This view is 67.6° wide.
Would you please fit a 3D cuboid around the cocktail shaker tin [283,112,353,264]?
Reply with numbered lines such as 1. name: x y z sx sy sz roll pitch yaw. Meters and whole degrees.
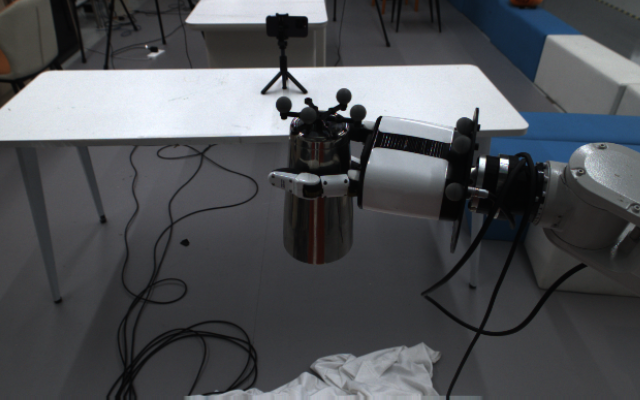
1. cocktail shaker tin: 0.003 -0.019 0.581 0.093 0.170 0.093 1 39 -1
